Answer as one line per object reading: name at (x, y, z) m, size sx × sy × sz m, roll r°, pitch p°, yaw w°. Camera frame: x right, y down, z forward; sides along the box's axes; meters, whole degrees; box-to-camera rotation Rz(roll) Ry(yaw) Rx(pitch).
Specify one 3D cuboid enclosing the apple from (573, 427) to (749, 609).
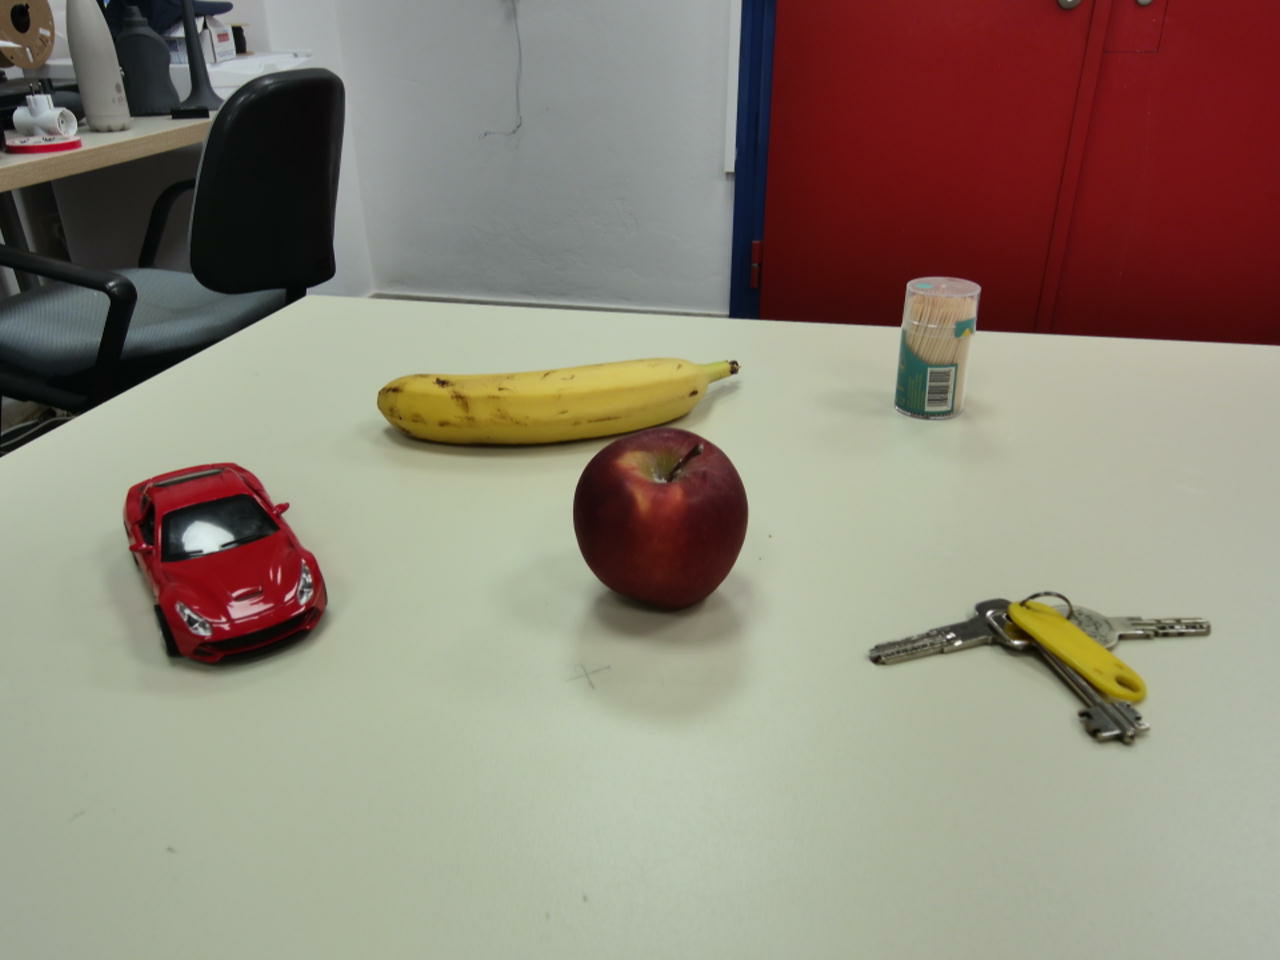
apple at (0.009, 0.015, 0.395) m, size 0.070 × 0.072 × 0.070 m, roll 1°, pitch 24°, yaw 0°
